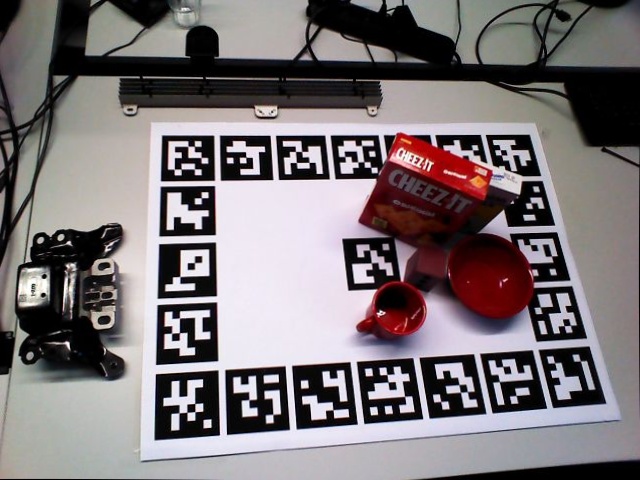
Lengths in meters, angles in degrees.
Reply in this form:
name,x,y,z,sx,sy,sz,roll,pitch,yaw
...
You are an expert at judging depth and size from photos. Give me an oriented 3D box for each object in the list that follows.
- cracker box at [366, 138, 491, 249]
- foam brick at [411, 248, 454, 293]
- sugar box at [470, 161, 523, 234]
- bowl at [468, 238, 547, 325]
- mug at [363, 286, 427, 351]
name,x,y,z,sx,sy,sz,roll,pitch,yaw
cracker box,0.186,-0.067,0.888,0.164,0.215,0.071,26,64,2
foam brick,0.200,0.054,0.918,0.053,0.078,0.051,13,65,-2
sugar box,0.292,-0.075,0.925,0.093,0.177,0.045,18,66,0
bowl,0.324,0.078,0.921,0.162,0.055,0.161,3,68,-7
mug,0.128,0.137,0.862,0.117,0.082,0.093,-10,61,-10
